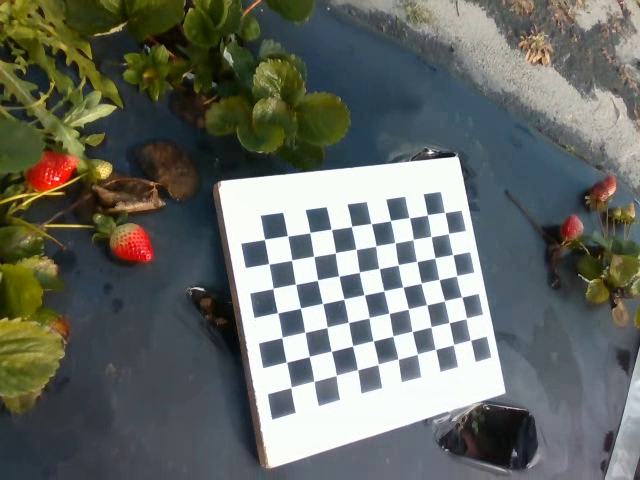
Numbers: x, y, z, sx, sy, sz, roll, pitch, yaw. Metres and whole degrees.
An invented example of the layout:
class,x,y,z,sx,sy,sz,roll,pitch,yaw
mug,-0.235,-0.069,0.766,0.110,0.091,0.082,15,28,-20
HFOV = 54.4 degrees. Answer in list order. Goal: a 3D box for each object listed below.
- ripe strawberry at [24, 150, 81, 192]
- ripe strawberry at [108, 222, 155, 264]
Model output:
class,x,y,z,sx,sy,sz,roll,pitch,yaw
ripe strawberry,-0.221,-0.060,0.508,0.048,0.040,0.031,-23,3,16
ripe strawberry,-0.162,0.005,0.530,0.043,0.035,0.029,44,-23,-9
